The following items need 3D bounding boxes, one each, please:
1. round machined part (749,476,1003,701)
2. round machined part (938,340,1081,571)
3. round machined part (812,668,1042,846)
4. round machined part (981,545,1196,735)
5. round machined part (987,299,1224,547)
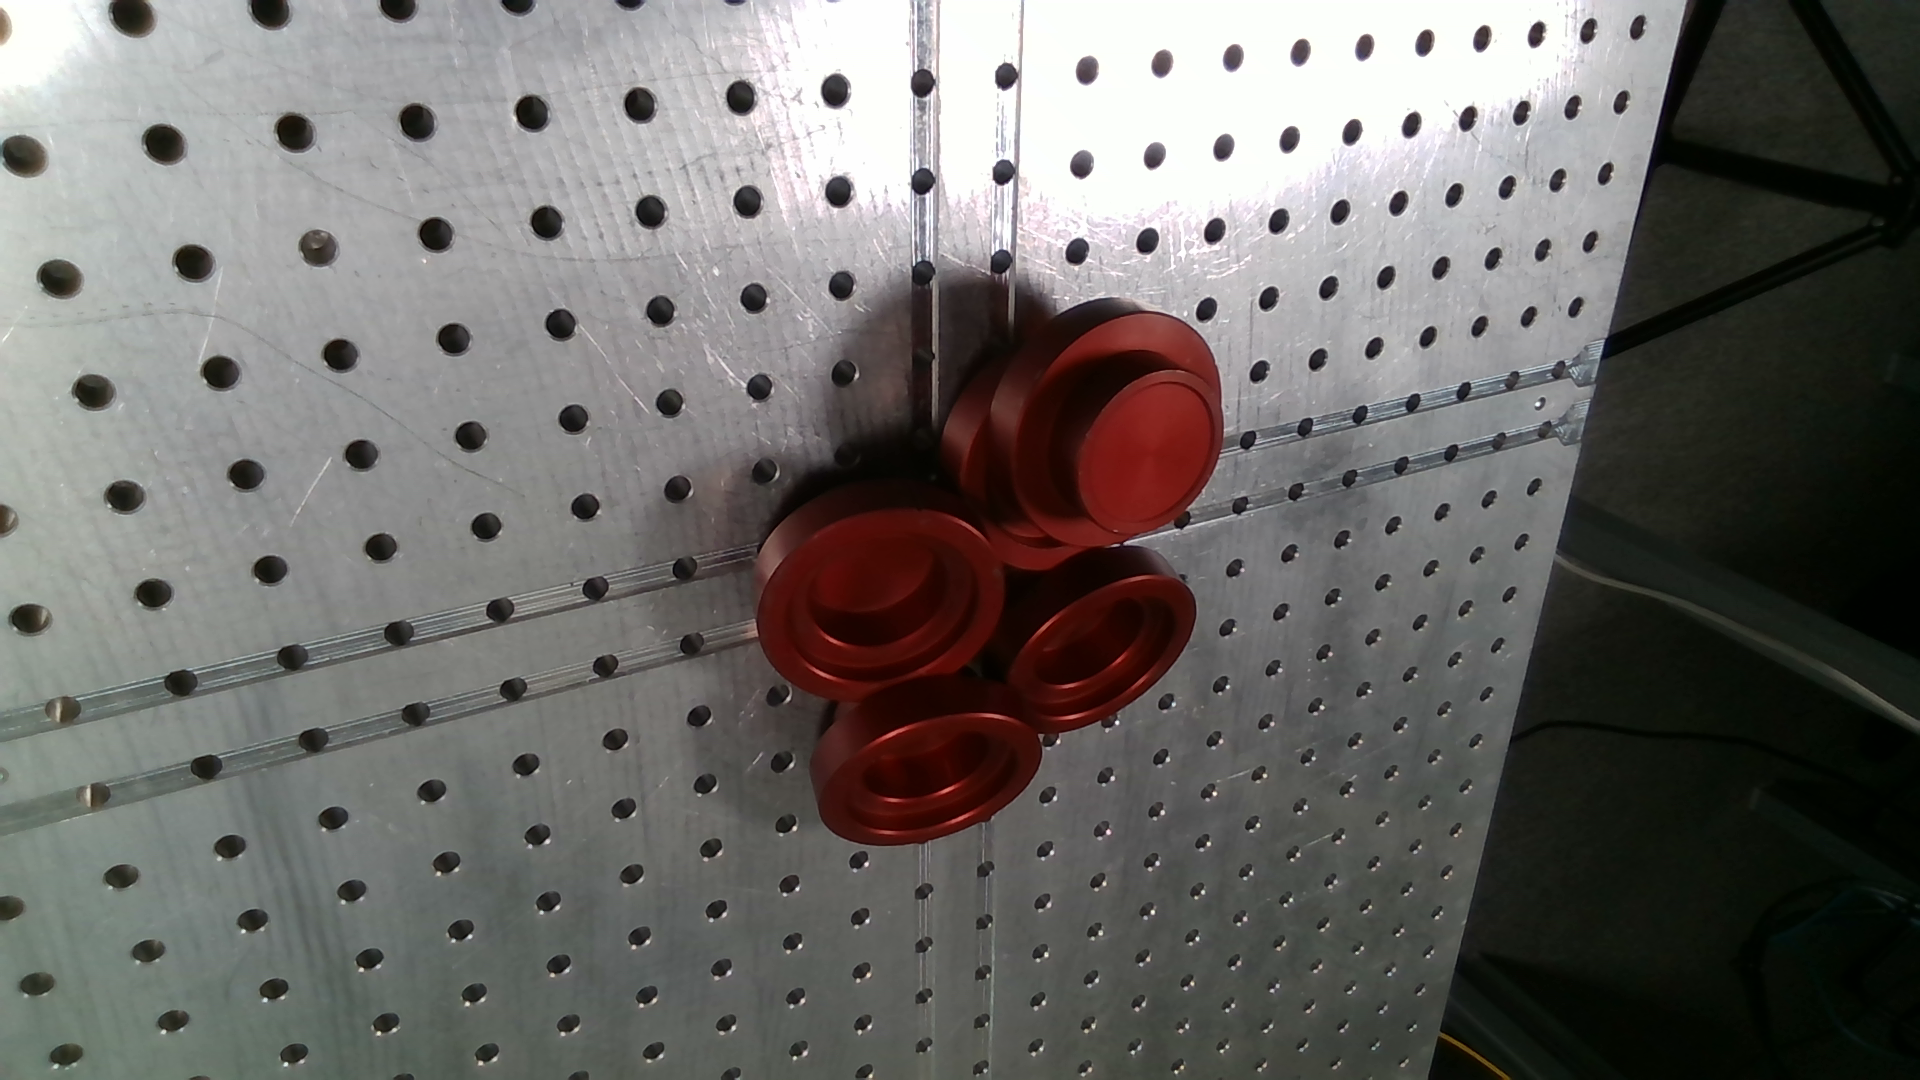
[{"bbox_3d":[-0.035,0.015,0.548,0.098,0.042,0.098,-9,129,-11],"label":"round machined part"},{"bbox_3d":[0.034,-0.040,0.571,0.098,0.042,0.098,-14,122,-25],"label":"round machined part"},{"bbox_3d":[-0.018,0.088,0.594,0.098,0.042,0.098,-13,141,-10],"label":"round machined part"},{"bbox_3d":[0.053,0.038,0.614,0.098,0.042,0.098,-20,139,-18],"label":"round machined part"},{"bbox_3d":[0.063,-0.041,0.534,0.098,0.042,0.098,-14,122,-25],"label":"round machined part"}]
